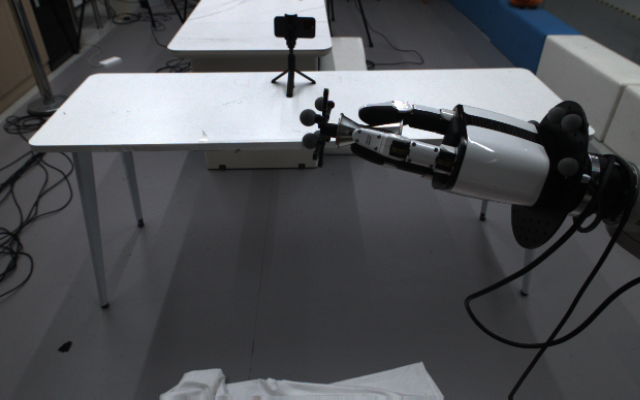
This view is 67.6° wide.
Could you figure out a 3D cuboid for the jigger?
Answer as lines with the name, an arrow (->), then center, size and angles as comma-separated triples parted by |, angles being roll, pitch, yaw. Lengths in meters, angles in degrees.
jigger -> 0.058, -0.077, 0.533 | 0.071, 0.043, 0.043 | 7, 35, 8
